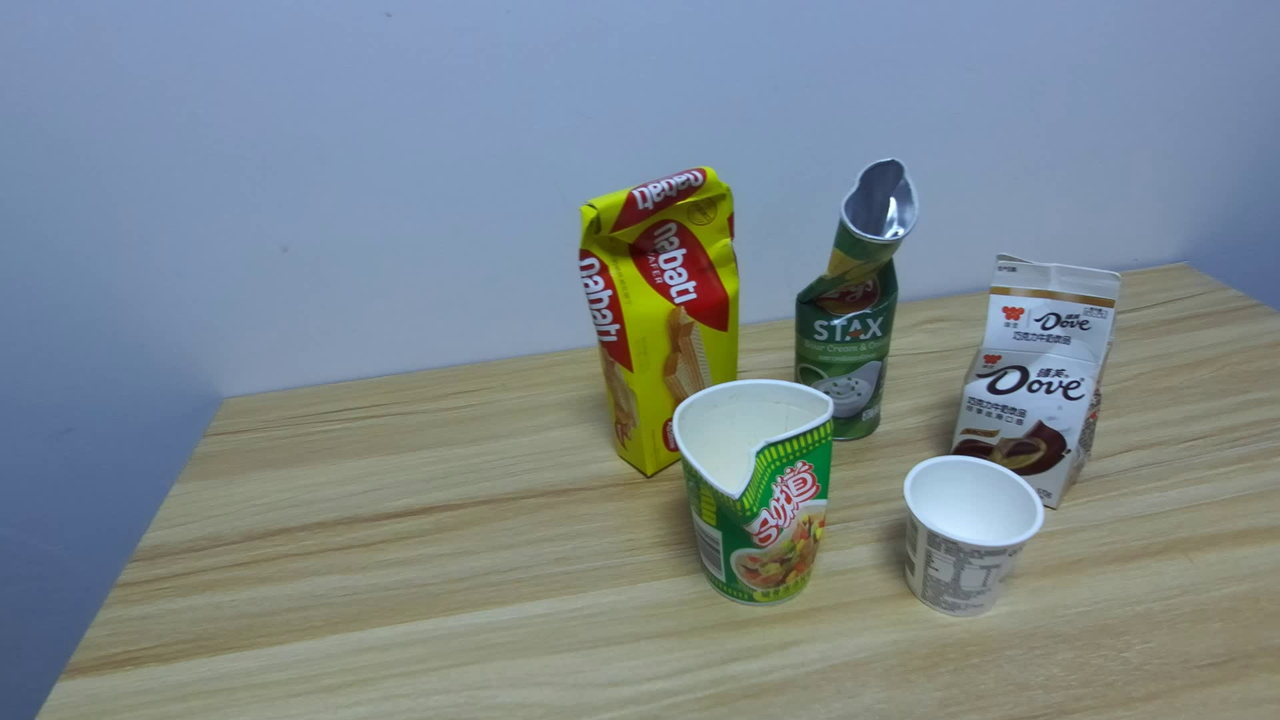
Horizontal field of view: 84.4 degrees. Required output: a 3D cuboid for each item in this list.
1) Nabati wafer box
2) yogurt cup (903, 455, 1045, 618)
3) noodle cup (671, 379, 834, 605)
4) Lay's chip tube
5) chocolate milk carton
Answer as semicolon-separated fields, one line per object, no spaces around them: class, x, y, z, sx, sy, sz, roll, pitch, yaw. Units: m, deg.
Nabati wafer box;0.020;-0.022;0.489;0.113;0.205;0.042;-26;36;-27
yogurt cup;0.183;0.103;0.401;0.072;0.068;0.072;-4;33;3
noodle cup;0.068;0.078;0.412;0.094;0.109;0.086;-17;36;-18
Lay's chip tube;0.151;-0.032;0.495;0.079;0.200;0.070;-20;43;-17
chocolate milk carton;0.261;0.008;0.460;0.084;0.155;0.073;20;42;32
